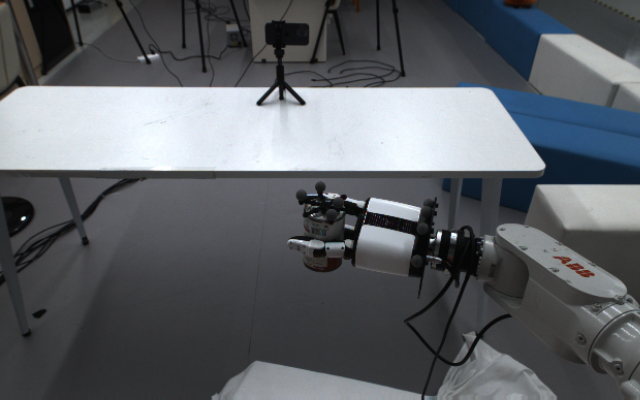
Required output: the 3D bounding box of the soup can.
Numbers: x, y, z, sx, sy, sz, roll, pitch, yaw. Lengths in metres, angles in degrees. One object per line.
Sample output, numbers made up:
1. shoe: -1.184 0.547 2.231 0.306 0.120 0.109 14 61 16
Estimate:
1. soup can: 0.006 0.057 0.777 0.067 0.101 0.067 2 32 -1
